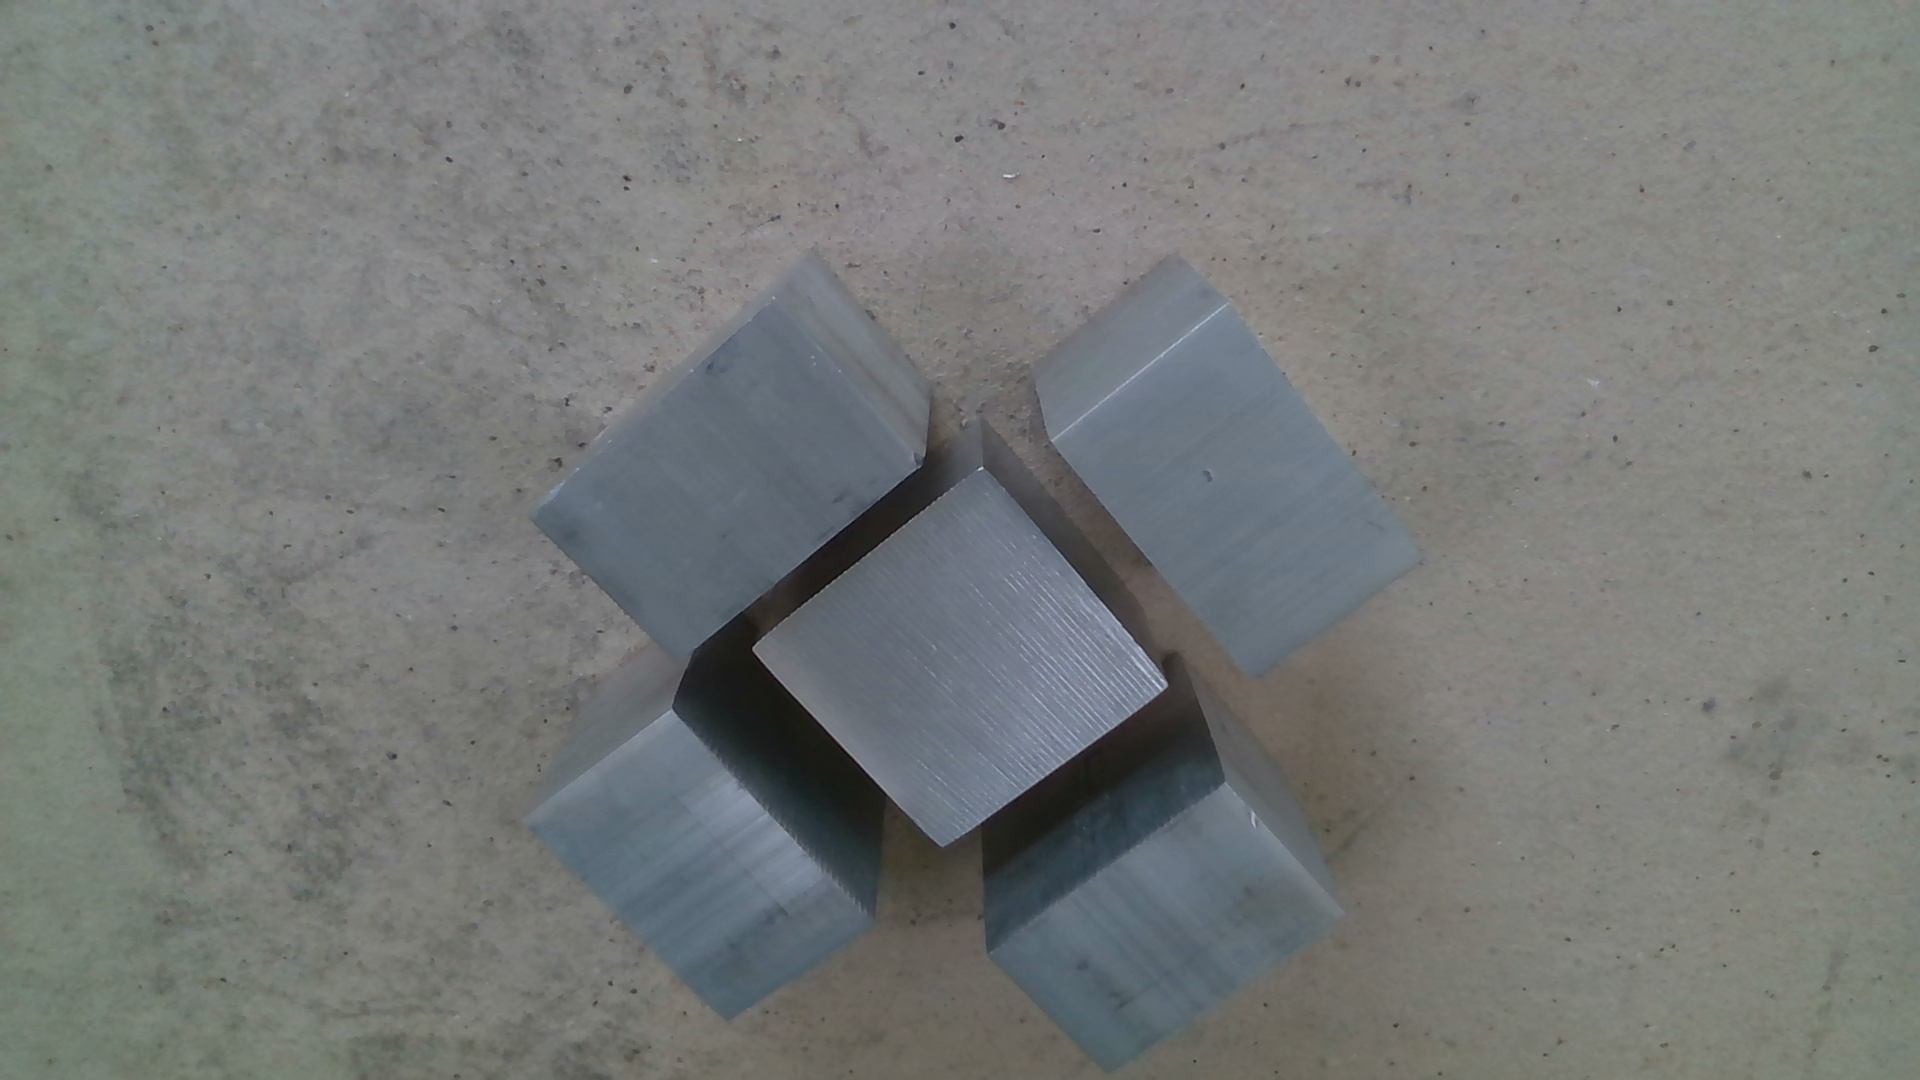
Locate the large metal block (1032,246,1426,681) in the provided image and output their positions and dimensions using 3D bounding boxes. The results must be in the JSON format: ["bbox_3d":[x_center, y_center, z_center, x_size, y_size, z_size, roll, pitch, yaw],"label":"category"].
[{"bbox_3d":[0.065,-0.023,0.357,0.050,0.080,0.080,-38,106,12],"label":"large metal block"}]

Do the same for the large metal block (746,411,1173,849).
[{"bbox_3d":[0.000,0.024,0.387,0.080,0.050,0.080,-38,106,13],"label":"large metal block"}]

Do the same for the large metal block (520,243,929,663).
[{"bbox_3d":[-0.055,-0.026,0.354,0.080,0.080,0.050,-38,106,13],"label":"large metal block"}]

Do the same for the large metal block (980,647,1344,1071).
[{"bbox_3d":[0.053,0.089,0.397,0.080,0.080,0.050,-39,106,13],"label":"large metal block"}]

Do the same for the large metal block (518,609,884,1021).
[{"bbox_3d":[-0.067,0.071,0.390,0.050,0.080,0.080,-36,106,11],"label":"large metal block"}]
